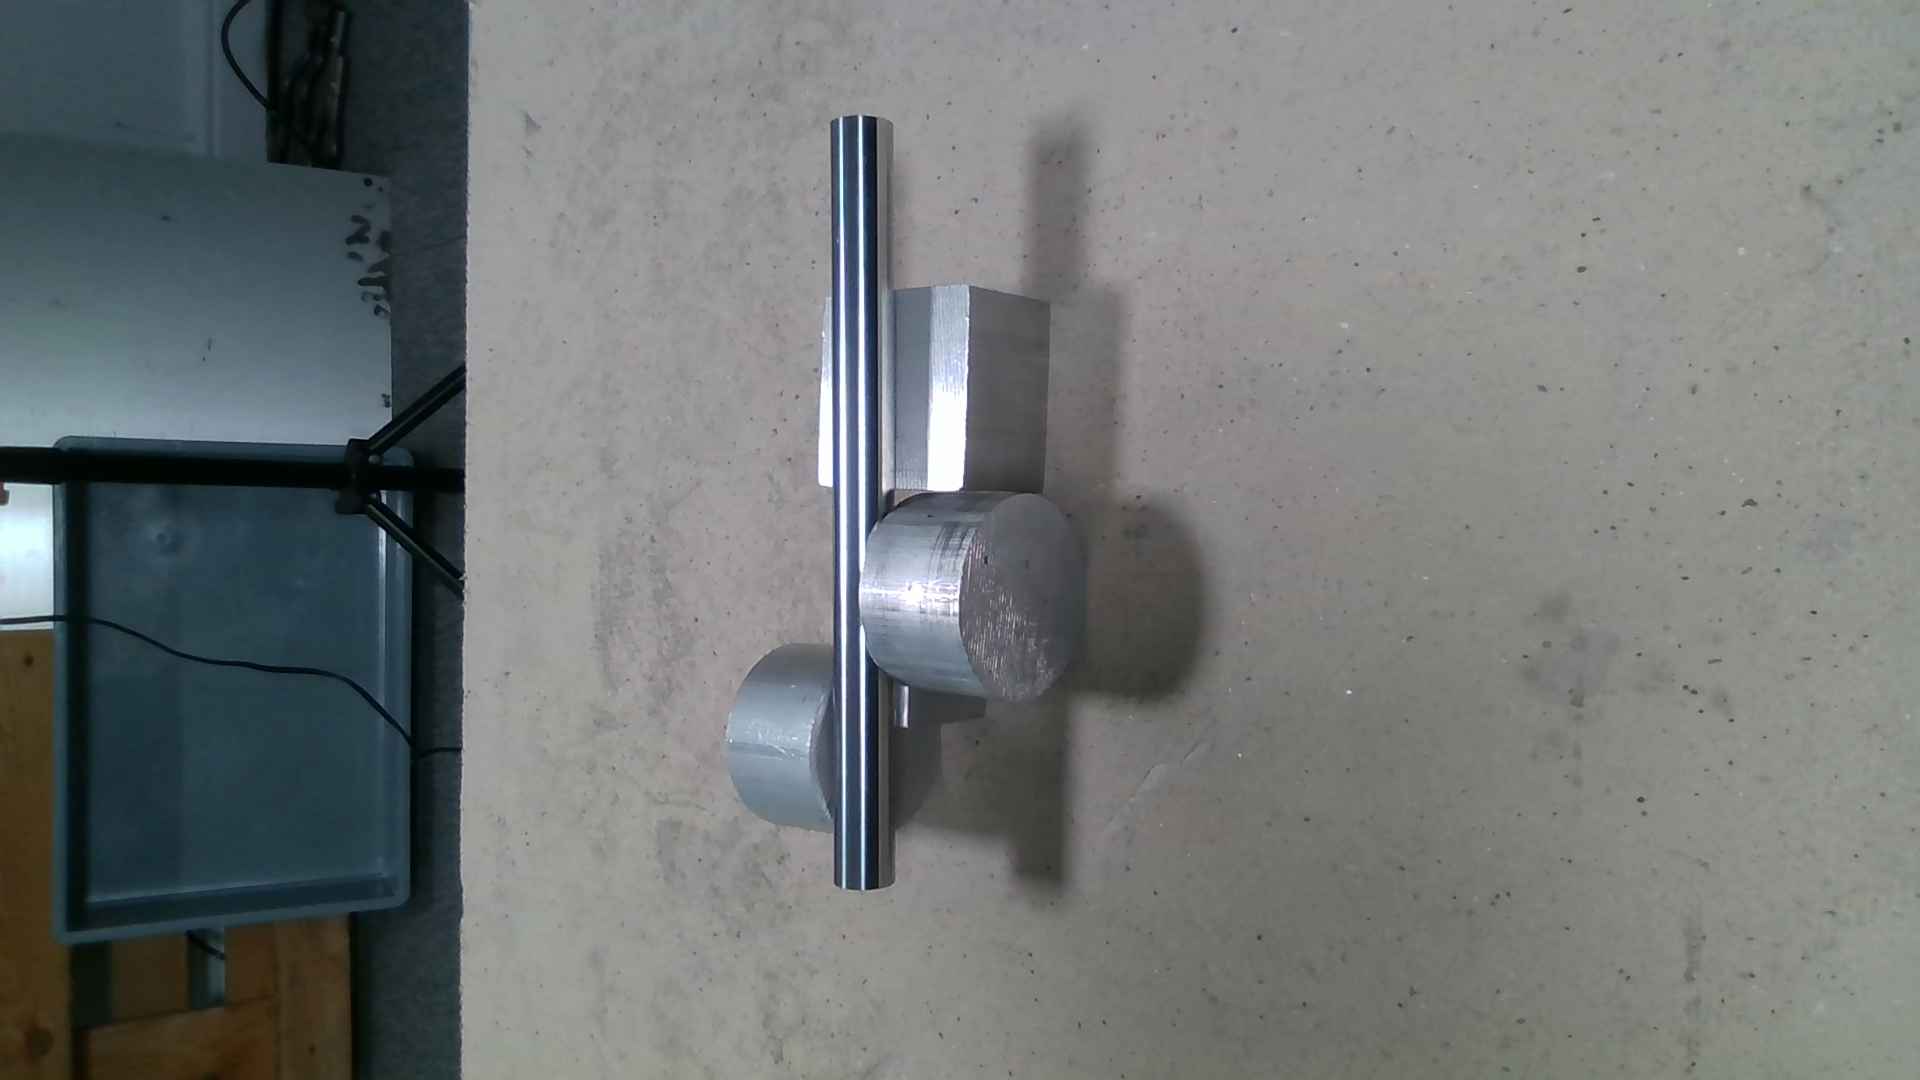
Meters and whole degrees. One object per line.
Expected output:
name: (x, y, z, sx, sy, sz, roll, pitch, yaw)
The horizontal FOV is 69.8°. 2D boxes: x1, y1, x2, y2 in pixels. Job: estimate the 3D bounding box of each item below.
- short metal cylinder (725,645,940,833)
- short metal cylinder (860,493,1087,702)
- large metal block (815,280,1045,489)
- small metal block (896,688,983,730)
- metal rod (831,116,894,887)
short metal cylinder: (-0.054, 0.085, 0.592, 0.050, 0.080, 0.080, 0, 90, 40)
short metal cylinder: (0.006, 0.021, 0.542, 0.050, 0.080, 0.080, 3, 92, 40)
large metal block: (-0.013, -0.062, 0.572, 0.080, 0.050, 0.080, 4, 93, 40)
small metal block: (-0.015, 0.051, 0.578, 0.025, 0.050, 0.050, 2, 91, 40)
metal rod: (-0.038, -0.014, 0.548, 0.025, 0.025, 0.300, 2, 93, 40)
